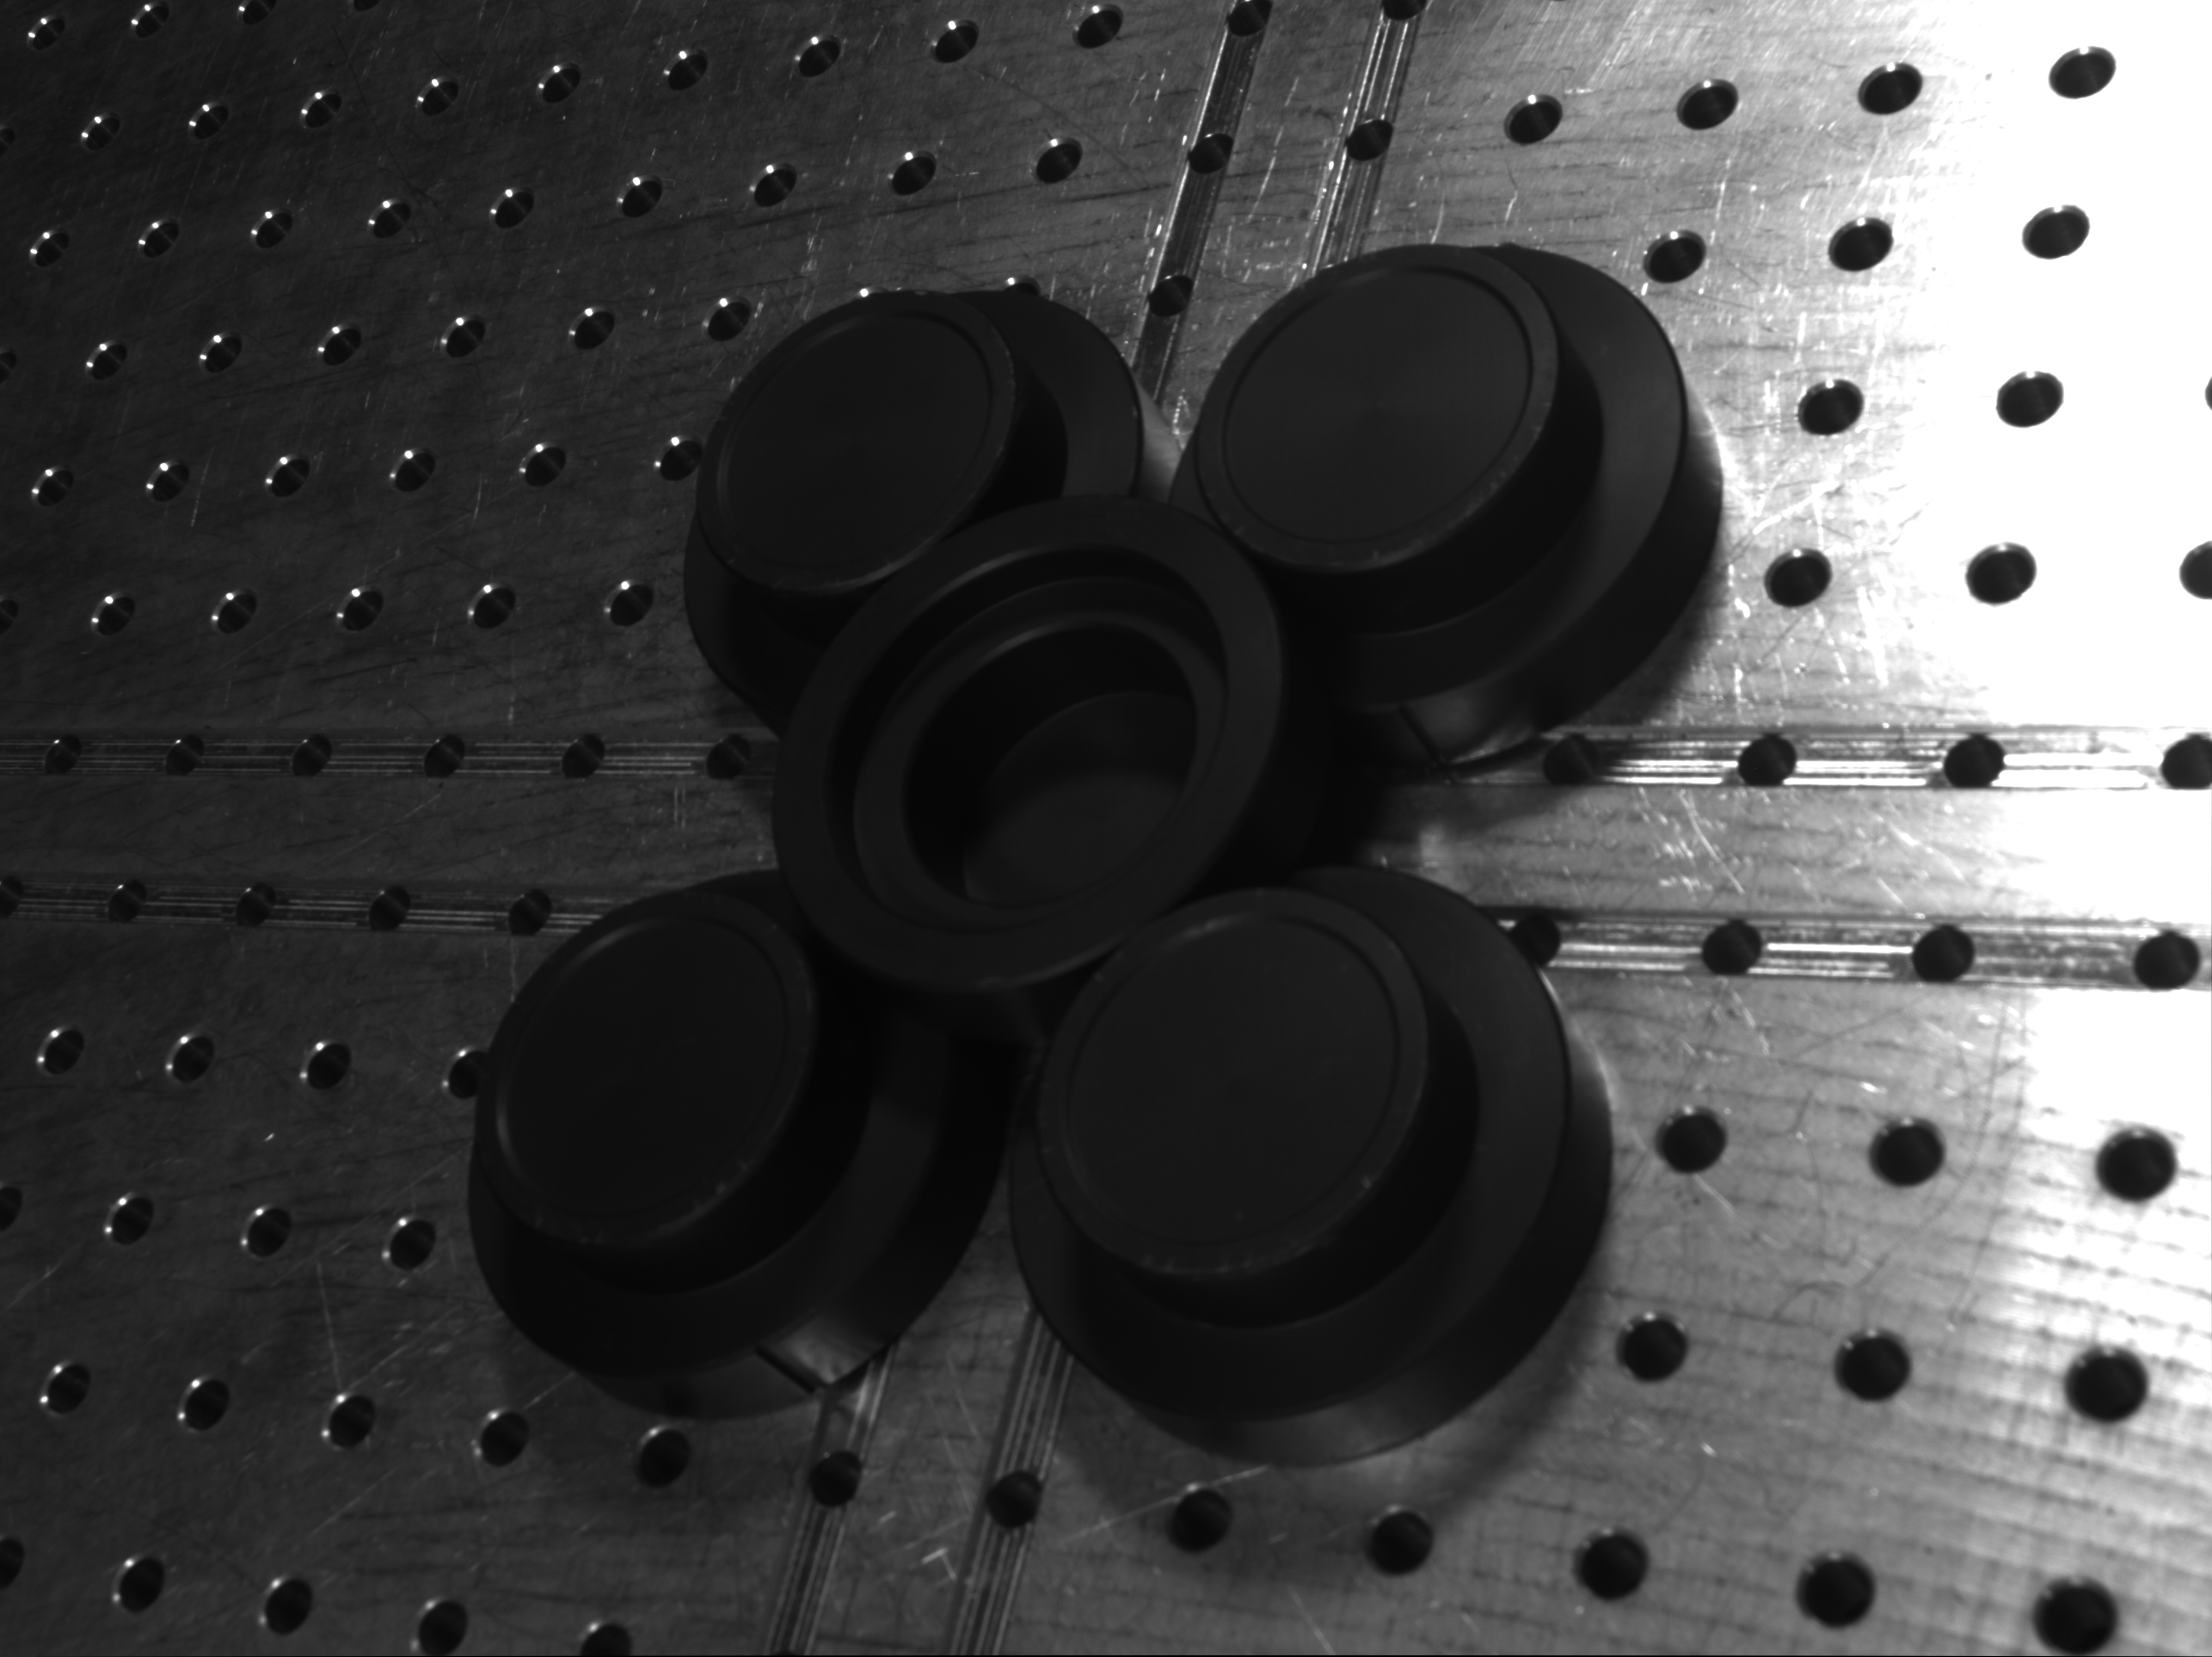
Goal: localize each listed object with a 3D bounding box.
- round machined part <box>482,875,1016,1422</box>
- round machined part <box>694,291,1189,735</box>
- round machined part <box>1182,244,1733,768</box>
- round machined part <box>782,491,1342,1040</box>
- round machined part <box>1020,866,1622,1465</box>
[{"bbox_3d":[-0.069,0.051,0.643,0.098,0.042,0.098,-13,56,21],"label":"round machined part"},{"bbox_3d":[-0.036,-0.062,0.693,0.098,0.042,0.098,-13,56,21],"label":"round machined part"},{"bbox_3d":[0.057,-0.063,0.644,0.098,0.042,0.098,-13,56,21],"label":"round machined part"},{"bbox_3d":[-0.004,-0.007,0.641,0.098,0.042,0.098,-13,56,21],"label":"round machined part"},{"bbox_3d":[0.030,0.049,0.589,0.098,0.042,0.098,-13,56,21],"label":"round machined part"}]
